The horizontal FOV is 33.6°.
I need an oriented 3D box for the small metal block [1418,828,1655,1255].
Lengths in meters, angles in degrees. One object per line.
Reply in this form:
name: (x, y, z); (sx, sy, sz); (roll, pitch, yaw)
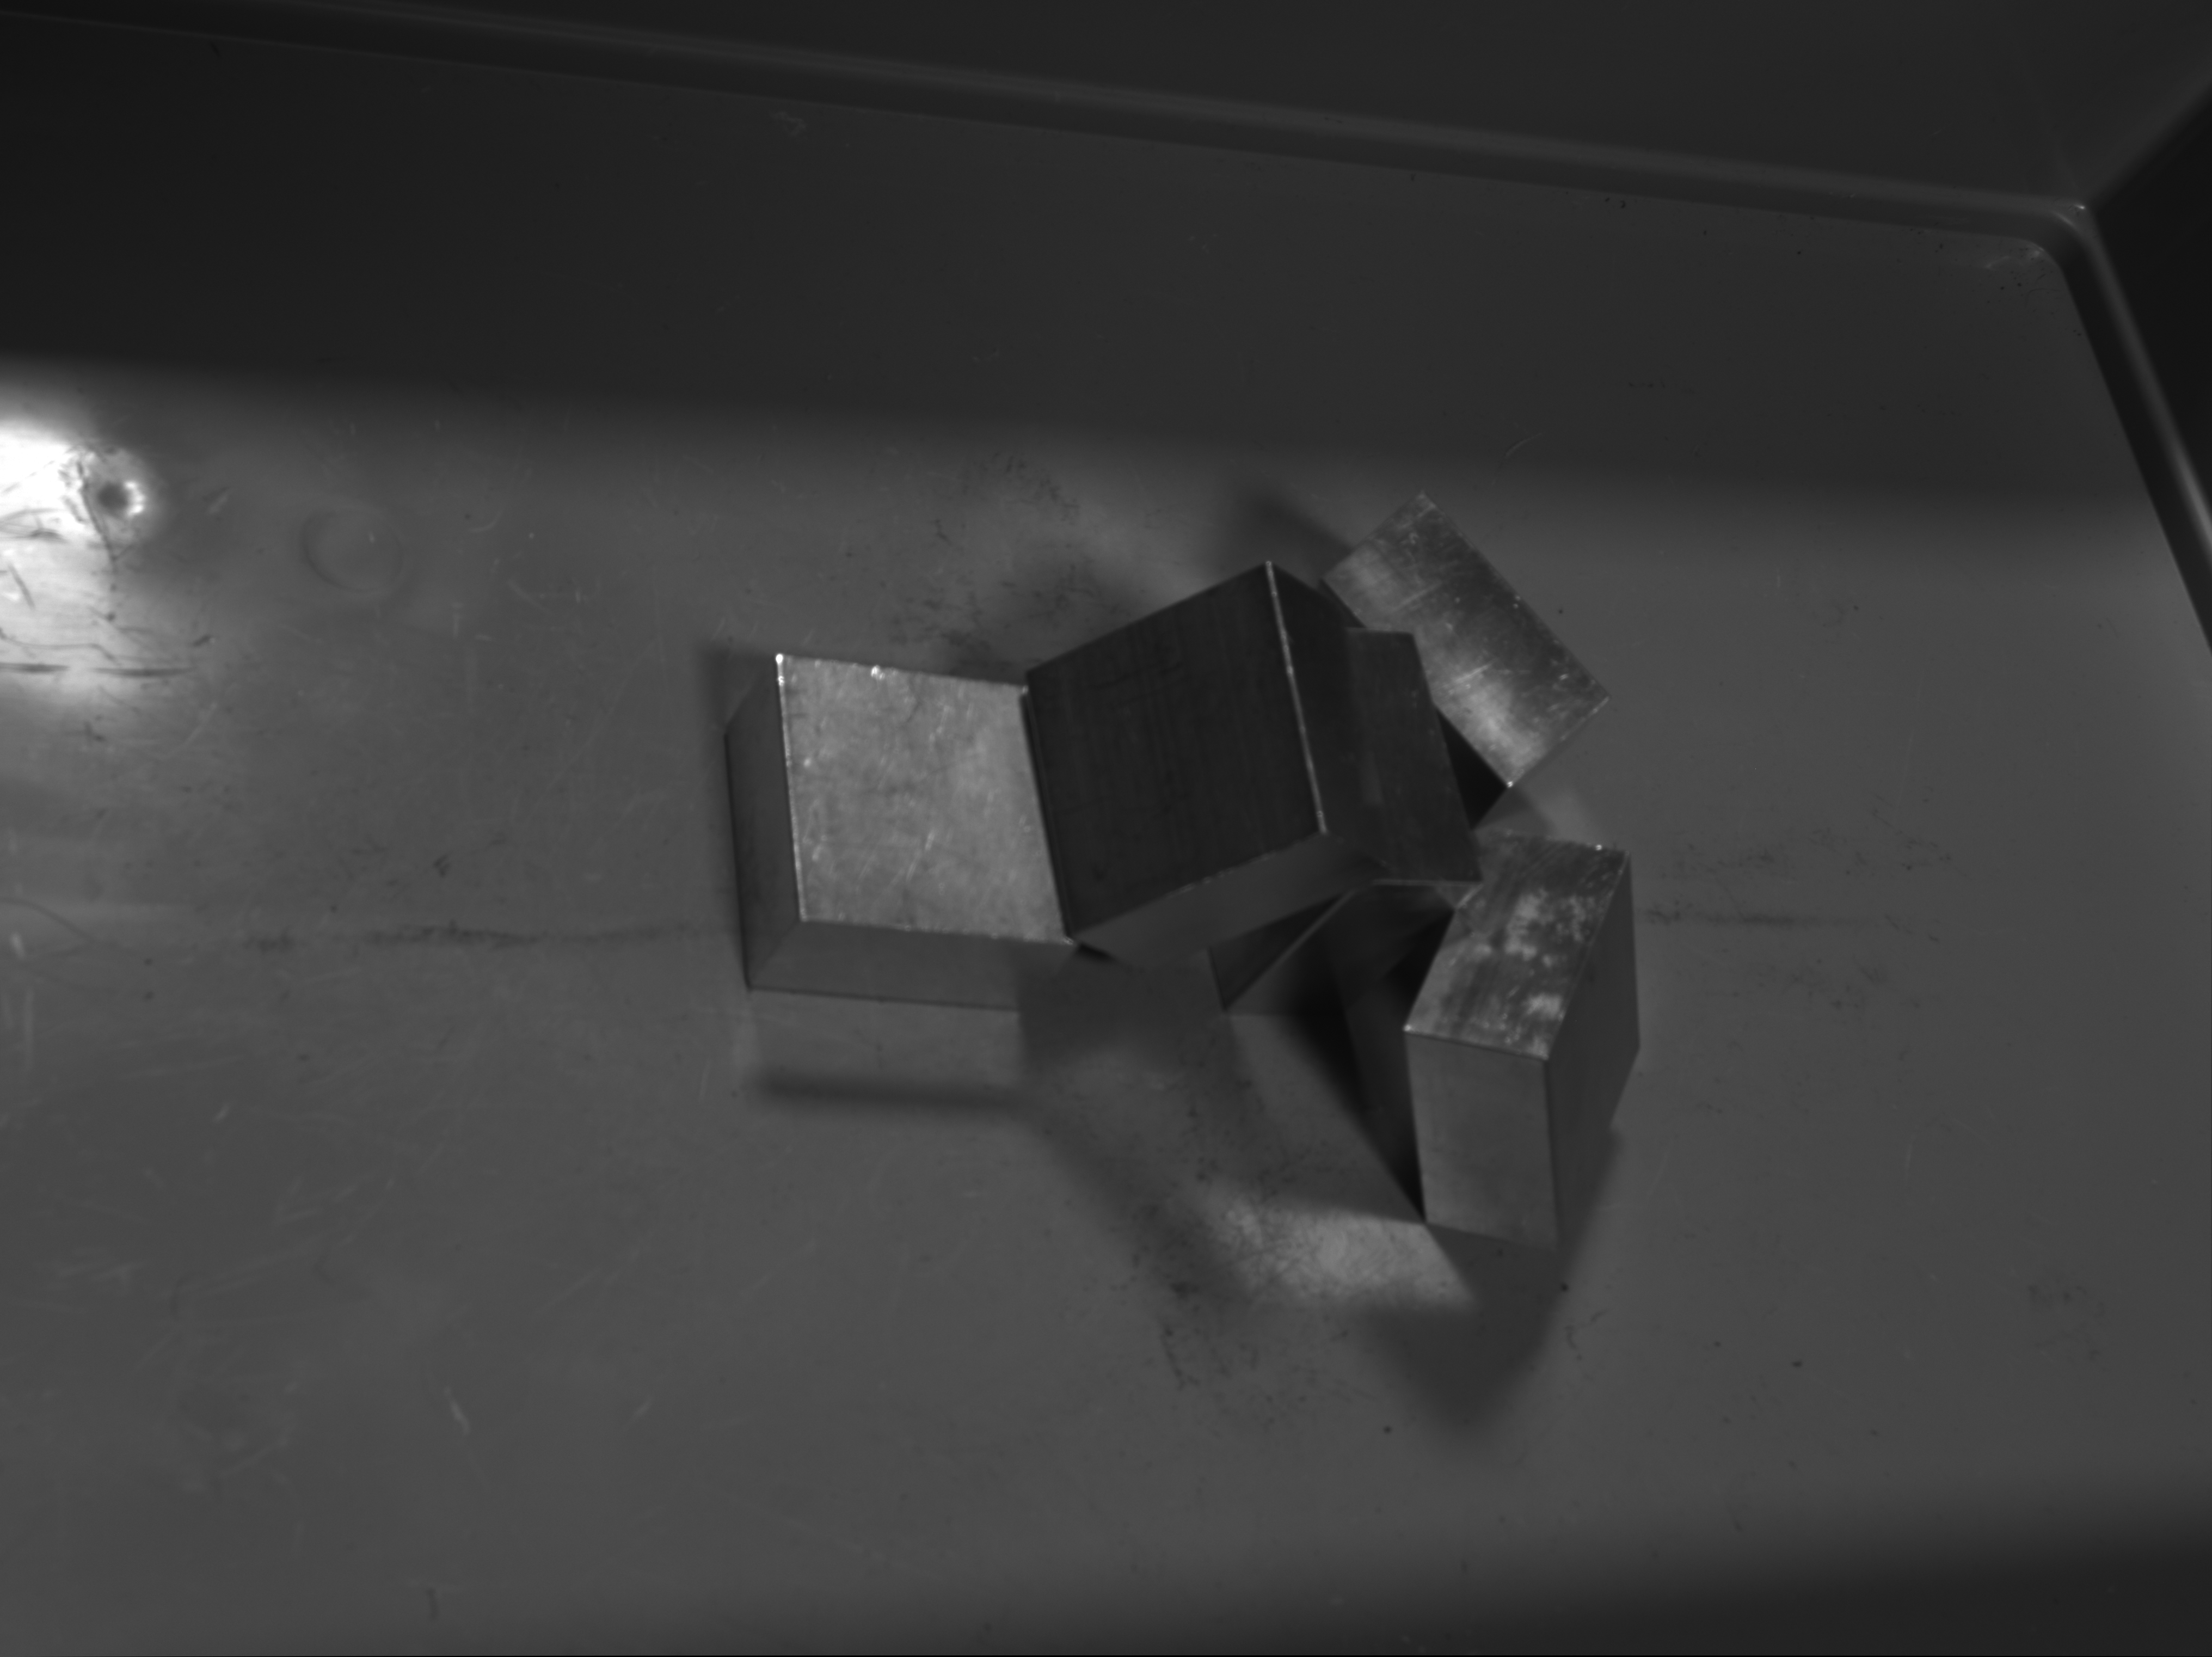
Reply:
small metal block: (0.076, 0.037, 0.637); (0.025, 0.050, 0.050); (11, 48, 21)

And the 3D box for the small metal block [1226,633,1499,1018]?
small metal block: (0.040, 0.000, 0.644); (0.025, 0.050, 0.050); (1, 61, -28)

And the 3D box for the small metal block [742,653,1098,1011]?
small metal block: (-0.032, 0.001, 0.619); (0.050, 0.025, 0.050); (6, 59, -25)

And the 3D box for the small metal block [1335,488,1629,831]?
small metal block: (0.066, -0.030, 0.673); (0.025, 0.050, 0.050); (-41, 84, -6)

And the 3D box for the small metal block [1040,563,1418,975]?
small metal block: (0.020, -0.009, 0.615); (0.025, 0.050, 0.050); (26, 48, -53)
